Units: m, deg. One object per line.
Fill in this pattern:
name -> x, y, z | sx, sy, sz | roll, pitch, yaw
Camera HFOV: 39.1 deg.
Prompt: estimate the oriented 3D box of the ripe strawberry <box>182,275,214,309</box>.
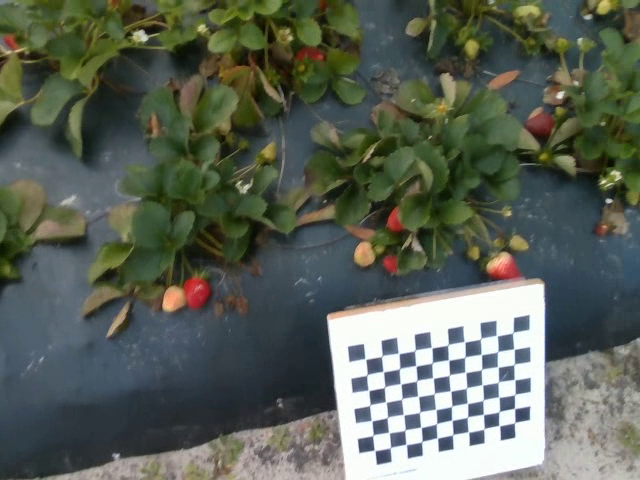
ripe strawberry -> -0.141, 0.063, 1.040 | 0.034, 0.042, 0.033 | 22, -49, -18
